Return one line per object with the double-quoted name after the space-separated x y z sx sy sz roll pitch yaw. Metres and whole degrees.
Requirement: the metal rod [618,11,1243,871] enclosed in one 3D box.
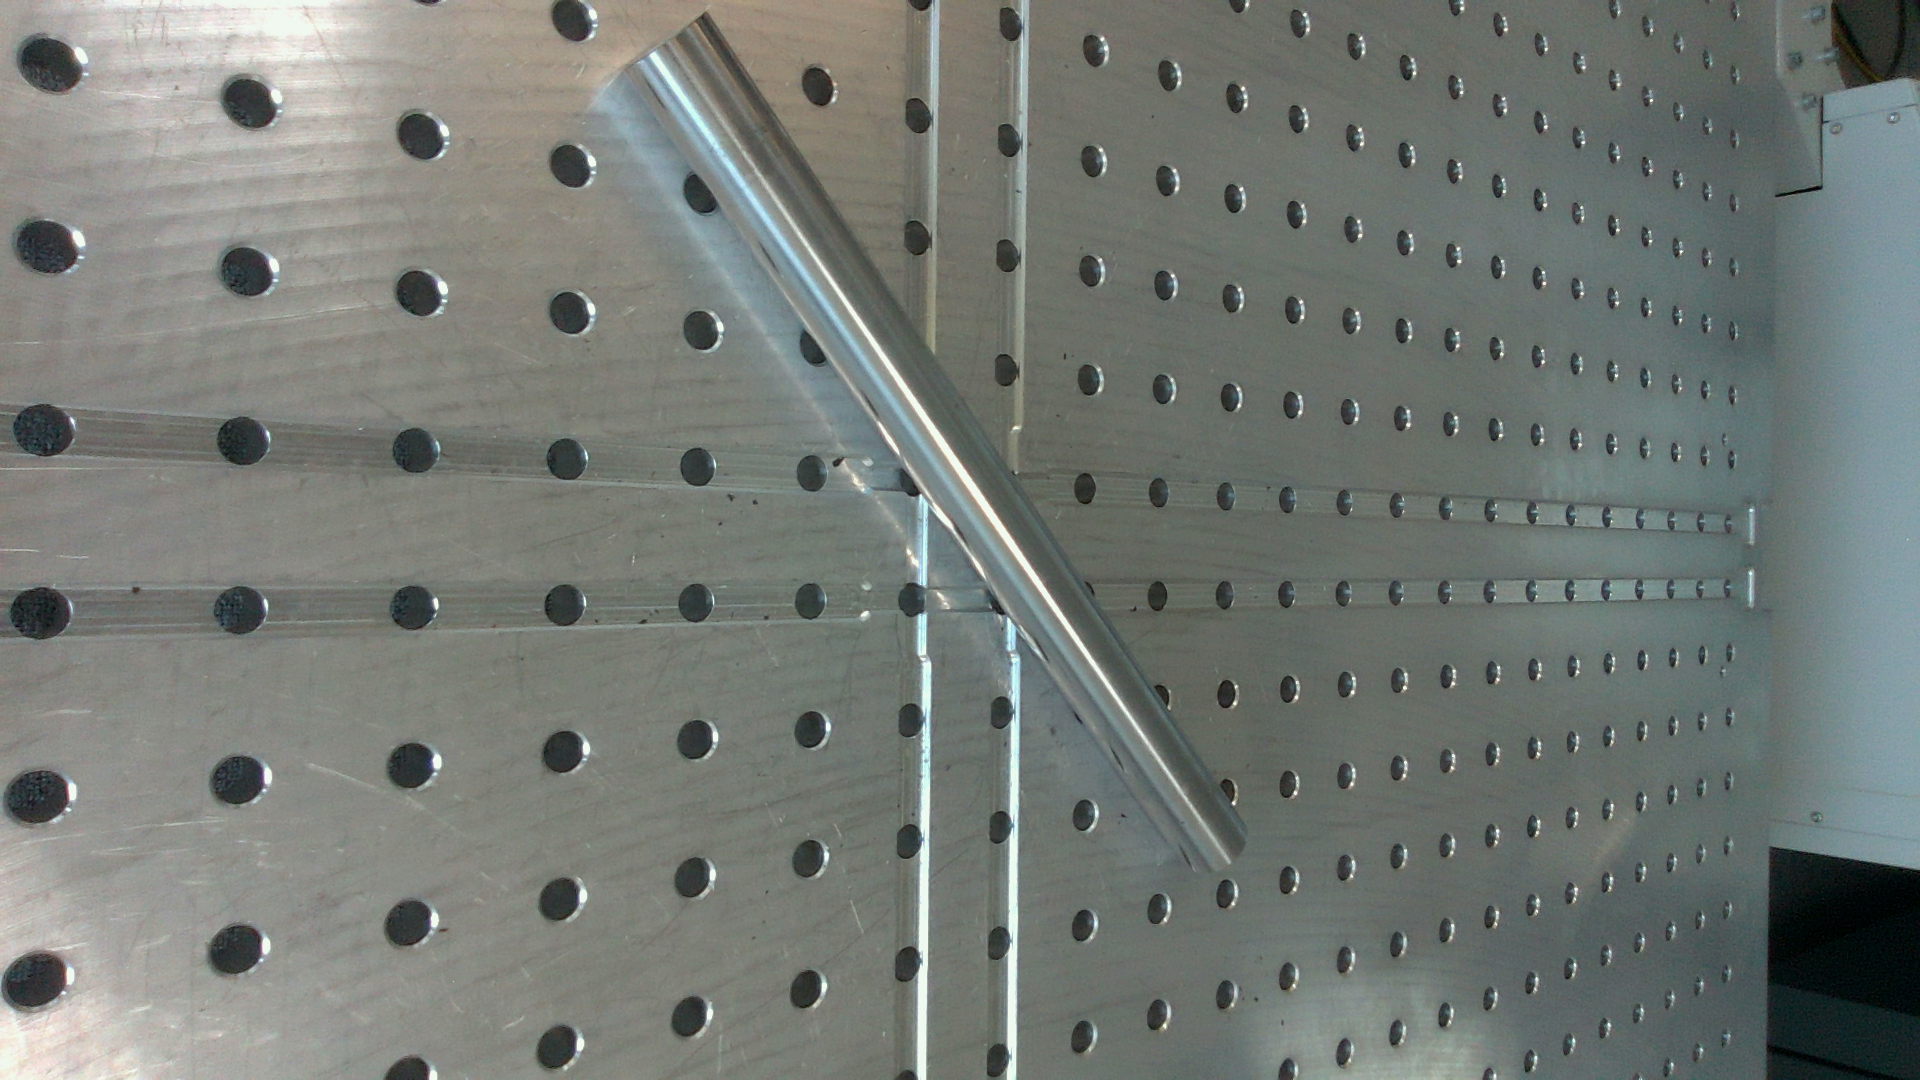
0.006 -0.010 0.396 0.025 0.025 0.301 -50 119 -28 "metal rod"
